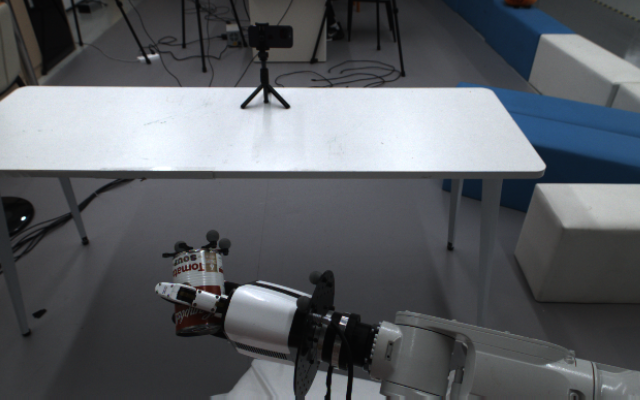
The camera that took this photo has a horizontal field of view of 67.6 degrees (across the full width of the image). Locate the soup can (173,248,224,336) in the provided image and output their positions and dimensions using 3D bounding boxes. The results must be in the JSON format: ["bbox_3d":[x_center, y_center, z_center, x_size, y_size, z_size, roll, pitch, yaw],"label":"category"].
[{"bbox_3d":[-0.157,0.124,0.642,0.067,0.067,0.101,-6,67,-12],"label":"soup can"}]
